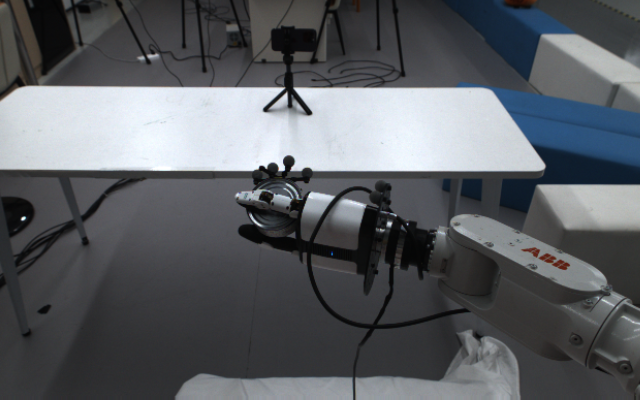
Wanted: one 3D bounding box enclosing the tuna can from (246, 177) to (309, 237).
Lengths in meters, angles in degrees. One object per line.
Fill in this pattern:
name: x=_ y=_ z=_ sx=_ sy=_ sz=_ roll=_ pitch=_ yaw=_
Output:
tuna can: x=-0.064 y=0.012 z=0.715 sx=0.085 sy=0.034 sz=0.085 roll=-6 pitch=61 yaw=10
